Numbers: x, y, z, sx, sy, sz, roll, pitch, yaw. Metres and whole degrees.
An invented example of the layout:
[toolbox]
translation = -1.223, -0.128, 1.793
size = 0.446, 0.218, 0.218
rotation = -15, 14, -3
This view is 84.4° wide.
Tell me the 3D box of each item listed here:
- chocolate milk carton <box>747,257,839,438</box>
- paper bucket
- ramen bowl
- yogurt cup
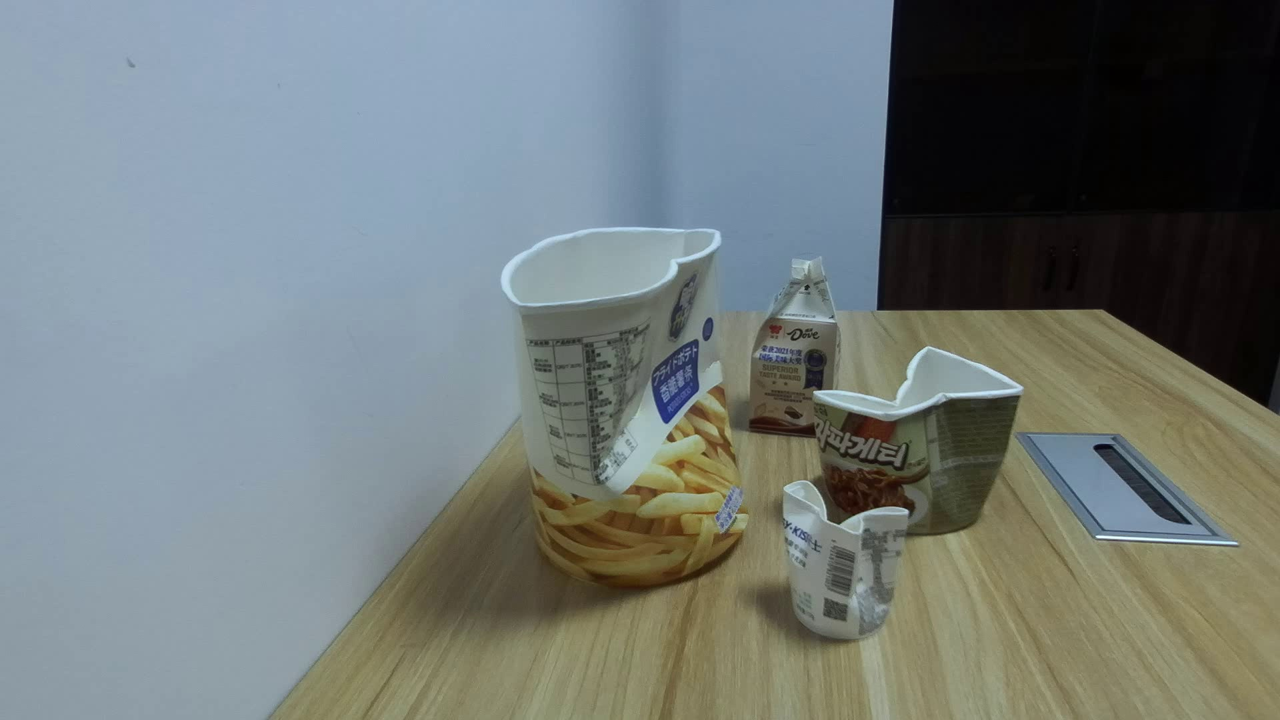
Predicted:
[chocolate milk carton]
translation = 0.140, -0.017, 0.621
size = 0.073, 0.155, 0.076
rotation = 5, 19, 19
[paper bucket]
translation = -0.002, 0.022, 0.462
size = 0.148, 0.199, 0.217
rotation = -5, 19, -7
[ramen bowl]
translation = 0.182, 0.055, 0.497
size = 0.128, 0.093, 0.111
rotation = -10, 21, -16
[yogurt cup]
translation = 0.109, 0.108, 0.386
size = 0.055, 0.072, 0.054
rotation = -14, 23, -20
